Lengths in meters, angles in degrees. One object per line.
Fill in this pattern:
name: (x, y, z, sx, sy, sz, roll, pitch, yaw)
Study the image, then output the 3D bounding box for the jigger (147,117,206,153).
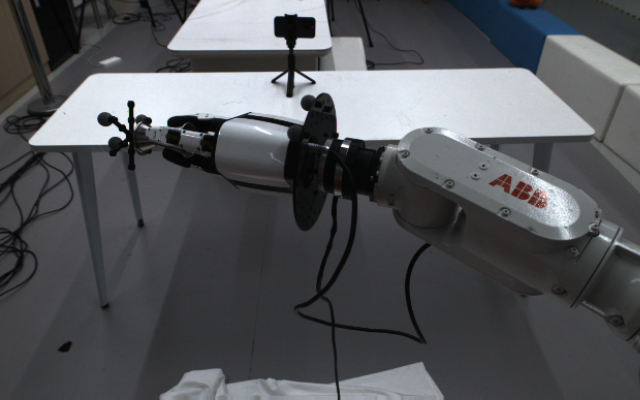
jigger: (-0.190, -0.082, 0.614, 0.071, 0.043, 0.043, 5, 34, 15)
